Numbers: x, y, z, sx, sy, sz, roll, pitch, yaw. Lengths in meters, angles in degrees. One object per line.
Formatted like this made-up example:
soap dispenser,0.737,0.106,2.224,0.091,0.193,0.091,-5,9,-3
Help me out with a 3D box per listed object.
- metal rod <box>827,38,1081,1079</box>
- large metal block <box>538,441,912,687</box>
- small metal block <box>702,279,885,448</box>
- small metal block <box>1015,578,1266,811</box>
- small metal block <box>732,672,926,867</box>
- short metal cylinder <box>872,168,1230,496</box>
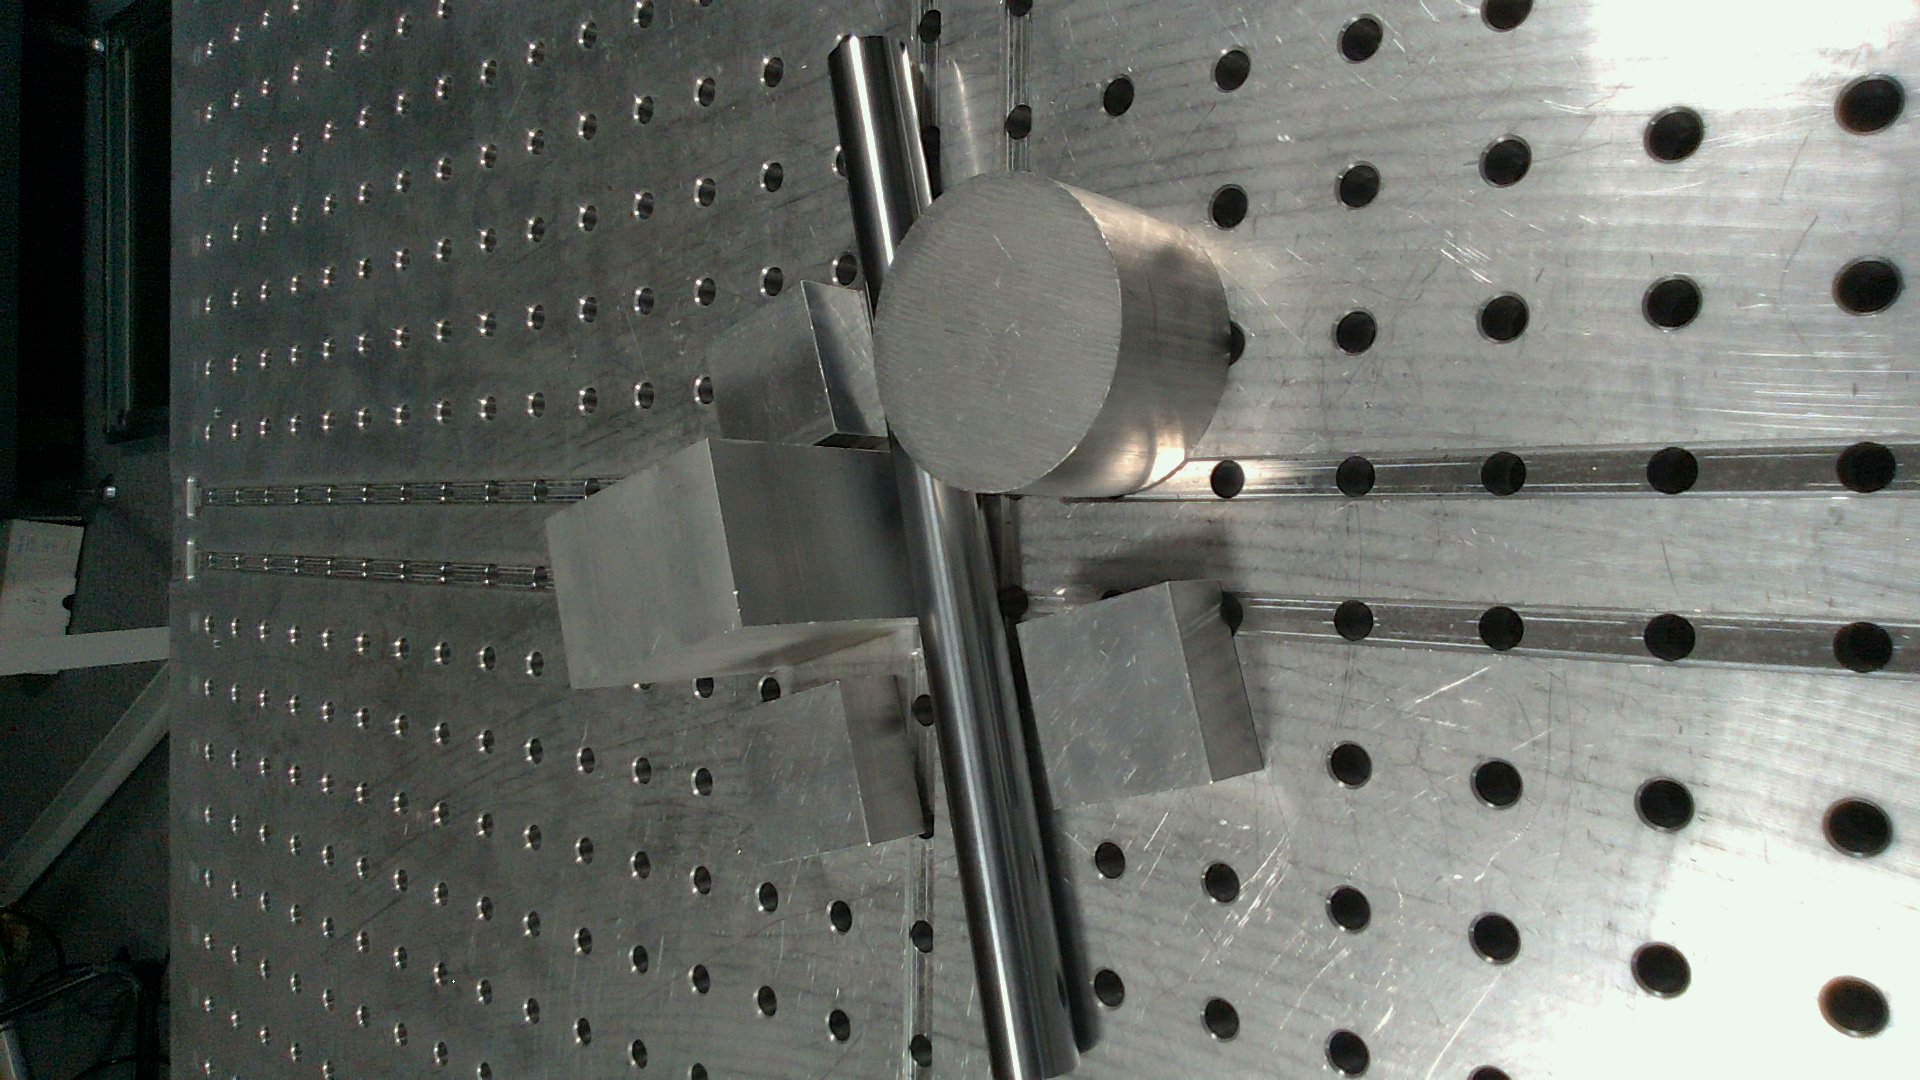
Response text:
metal rod,-0.004,-0.001,0.400,0.025,0.025,0.300,-16,80,39
large metal block,-0.067,0.009,0.416,0.080,0.080,0.050,-20,77,38
small metal block,-0.053,-0.049,0.443,0.050,0.025,0.050,-22,76,38
small metal block,0.046,0.041,0.359,0.050,0.025,0.050,-19,78,39
small metal block,-0.042,0.072,0.433,0.050,0.025,0.050,-20,77,38
short metal cylinder,0.023,-0.052,0.361,0.080,0.050,0.080,0,90,40
